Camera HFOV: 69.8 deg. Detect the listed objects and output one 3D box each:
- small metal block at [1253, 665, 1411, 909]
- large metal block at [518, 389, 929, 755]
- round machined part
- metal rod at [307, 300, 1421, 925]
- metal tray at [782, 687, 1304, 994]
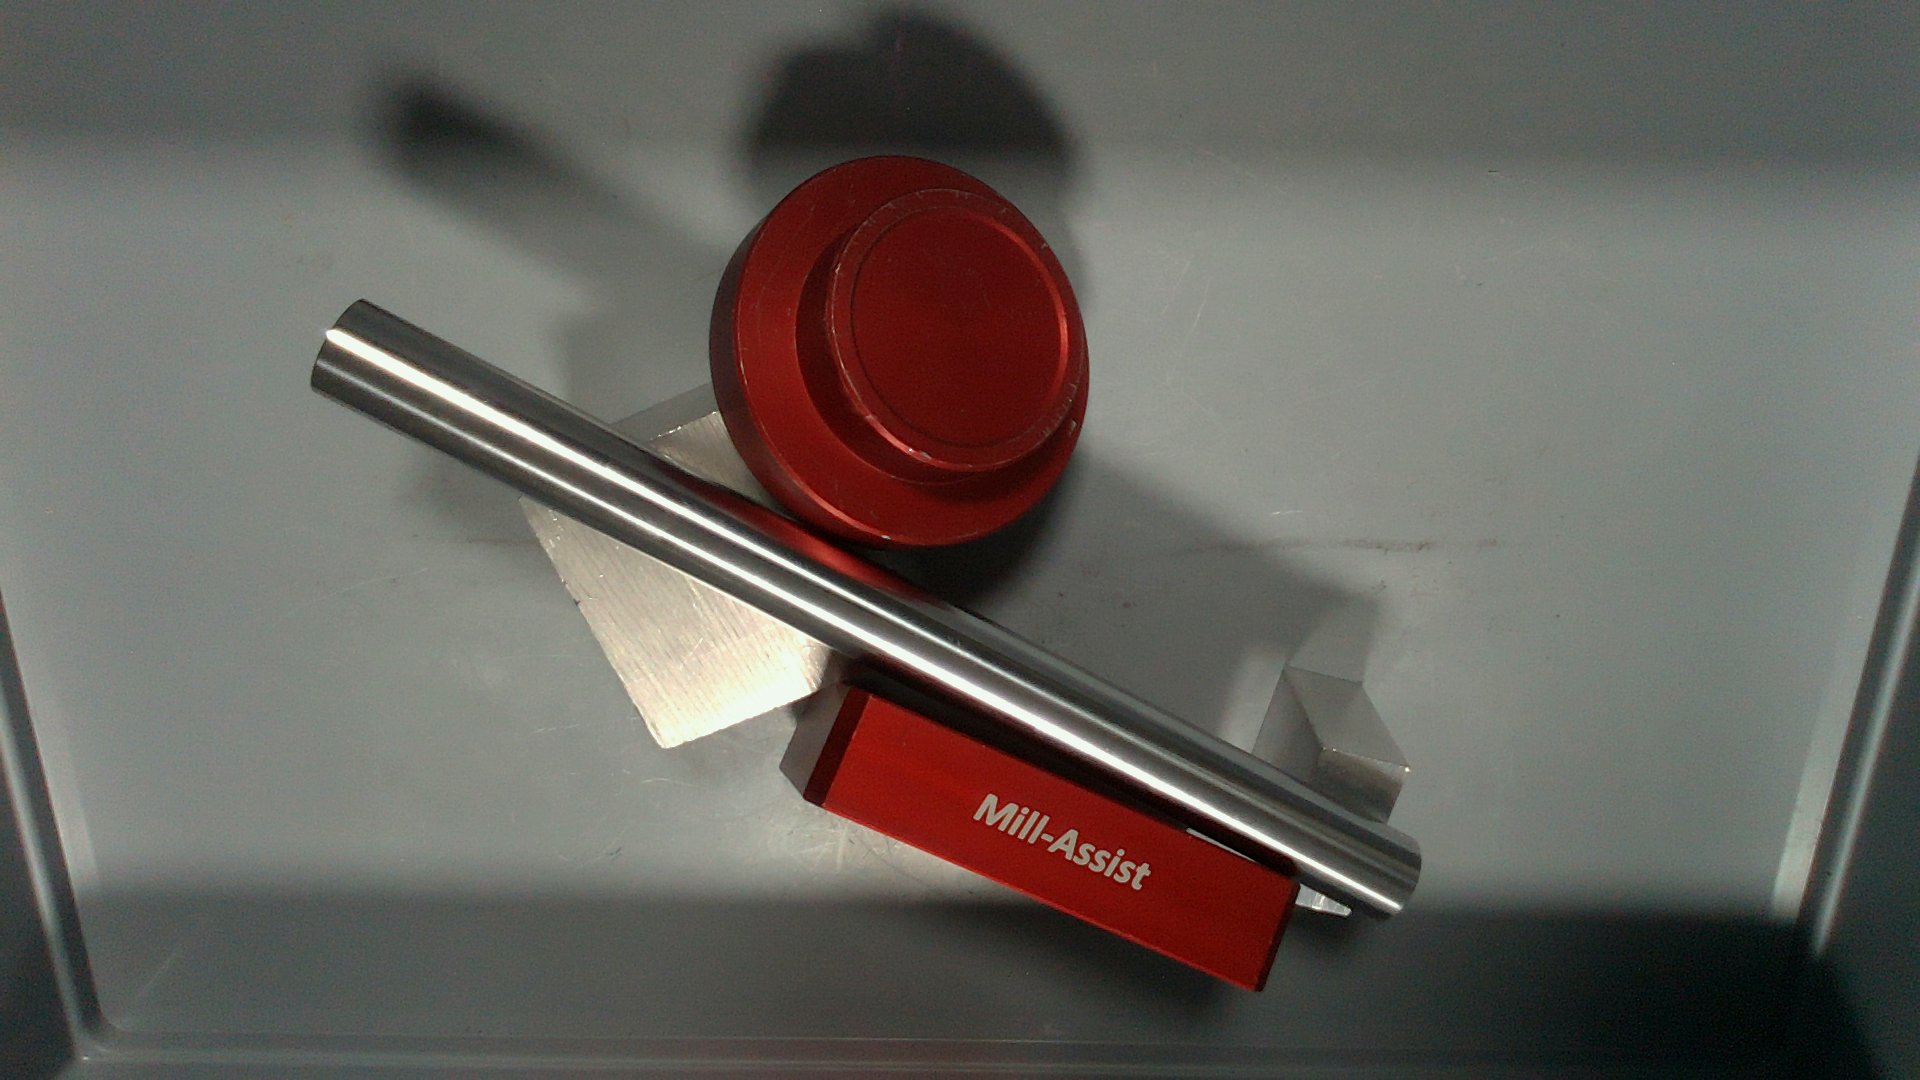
[{"bbox_3d":[0.105,0.073,0.407,0.025,0.050,0.050,14,110,-5],"label":"small metal block"},{"bbox_3d":[-0.061,0.001,0.379,0.080,0.050,0.080,-21,109,8],"label":"large metal block"},{"bbox_3d":[-0.008,-0.048,0.339,0.098,0.042,0.098,4,82,-28],"label":"round machined part"},{"bbox_3d":[-0.014,0.024,0.347,0.300,0.025,0.025,28,108,-10],"label":"metal rod"},{"bbox_3d":[0.017,0.079,0.384,0.130,0.090,0.030,25,81,-9],"label":"metal tray"}]
